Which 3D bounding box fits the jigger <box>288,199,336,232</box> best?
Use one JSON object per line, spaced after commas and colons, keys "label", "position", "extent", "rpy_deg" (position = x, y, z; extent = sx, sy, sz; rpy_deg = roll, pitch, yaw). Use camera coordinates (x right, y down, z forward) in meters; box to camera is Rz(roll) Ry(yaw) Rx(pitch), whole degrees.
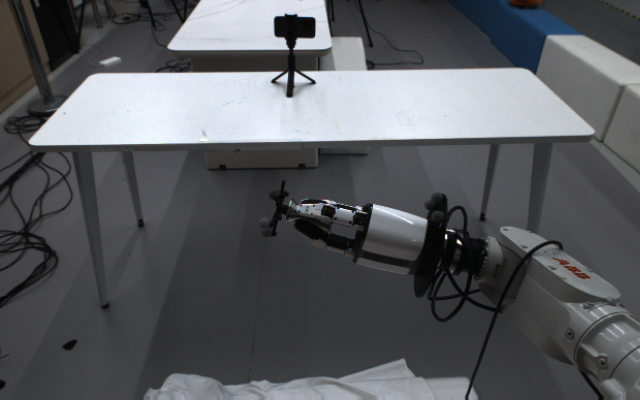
{"label": "jigger", "position": [-0.008, 0.021, 0.738], "extent": [0.071, 0.043, 0.043], "rpy_deg": [13, 36, 4]}
